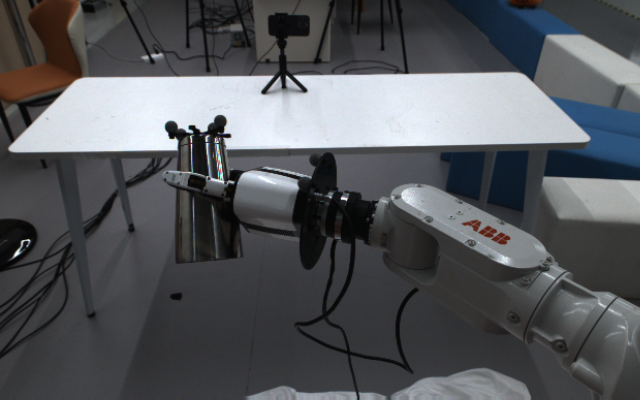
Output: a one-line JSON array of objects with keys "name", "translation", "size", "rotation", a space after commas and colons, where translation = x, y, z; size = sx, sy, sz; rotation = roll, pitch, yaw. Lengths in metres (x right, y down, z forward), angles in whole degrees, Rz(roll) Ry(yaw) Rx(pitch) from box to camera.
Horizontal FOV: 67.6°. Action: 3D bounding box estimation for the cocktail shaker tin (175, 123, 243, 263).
[{"name": "cocktail shaker tin", "translation": [-0.160, 0.000, 0.675], "size": [0.093, 0.170, 0.093], "rotation": [-6, -7, -1]}]
